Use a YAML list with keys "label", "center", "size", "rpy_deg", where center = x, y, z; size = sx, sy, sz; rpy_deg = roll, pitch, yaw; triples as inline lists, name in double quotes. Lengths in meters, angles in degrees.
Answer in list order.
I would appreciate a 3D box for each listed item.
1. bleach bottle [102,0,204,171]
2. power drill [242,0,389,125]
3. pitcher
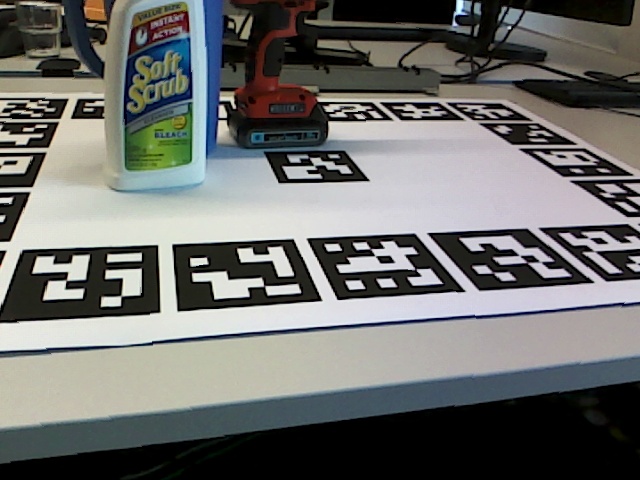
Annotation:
- label: "bleach bottle"
  center: [-0.160, -0.193, 0.573]
  size: [0.102, 0.250, 0.068]
  rpy_deg: [-7, 31, -19]
- label: "power drill"
  center: [-0.014, -0.233, 0.728]
  size: [0.184, 0.187, 0.058]
  rpy_deg: [0, 32, -20]
- label: "pitcher"
  center: [-0.173, -0.226, 0.672]
  size: [0.188, 0.242, 0.134]
  rpy_deg: [-19, 38, -35]
